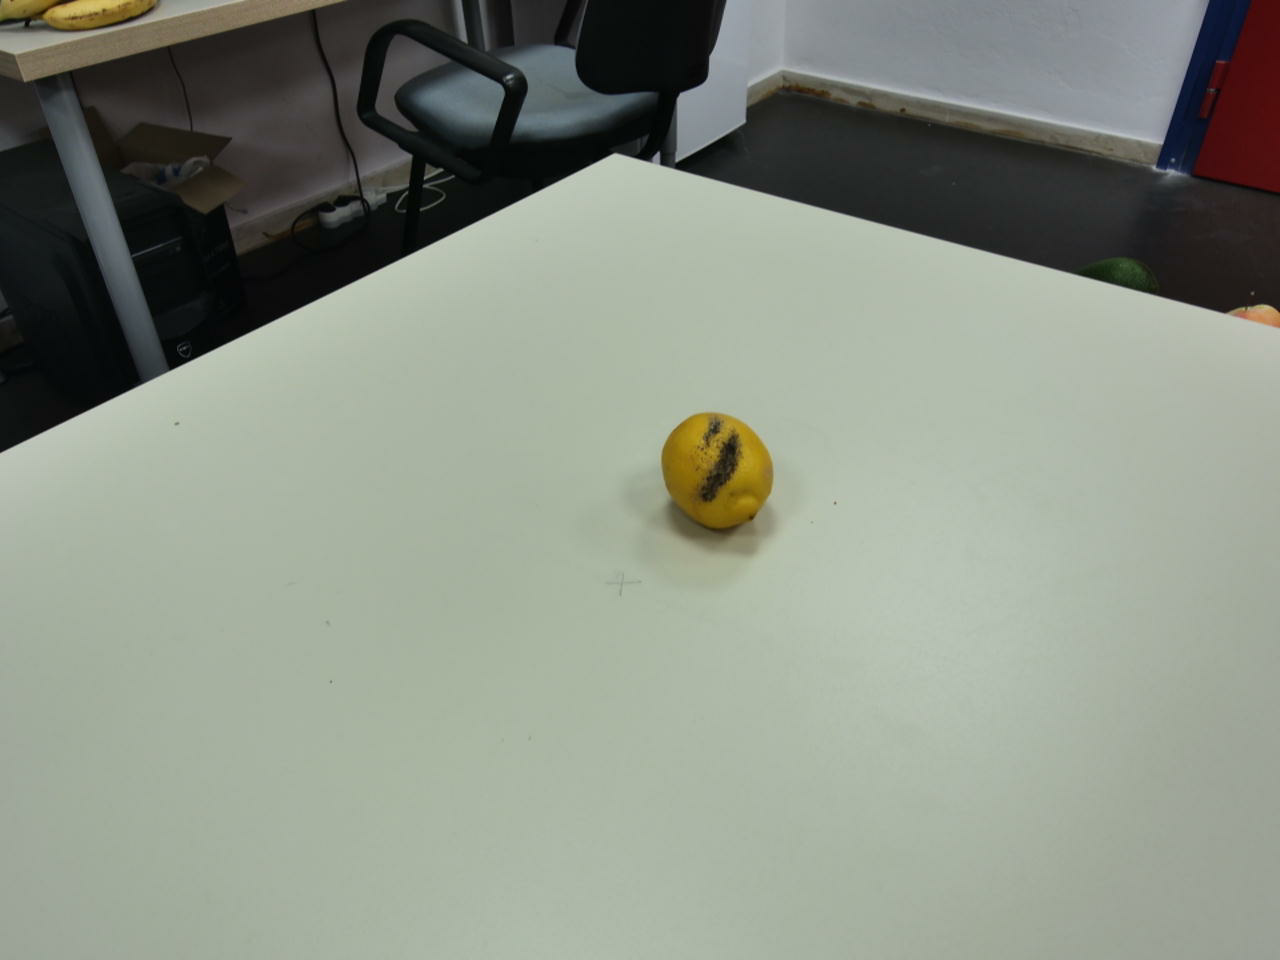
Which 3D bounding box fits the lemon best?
[{"bbox_3d":[0.041,-0.005,0.525,0.061,0.056,0.058,19,41,24],"label":"lemon"}]
